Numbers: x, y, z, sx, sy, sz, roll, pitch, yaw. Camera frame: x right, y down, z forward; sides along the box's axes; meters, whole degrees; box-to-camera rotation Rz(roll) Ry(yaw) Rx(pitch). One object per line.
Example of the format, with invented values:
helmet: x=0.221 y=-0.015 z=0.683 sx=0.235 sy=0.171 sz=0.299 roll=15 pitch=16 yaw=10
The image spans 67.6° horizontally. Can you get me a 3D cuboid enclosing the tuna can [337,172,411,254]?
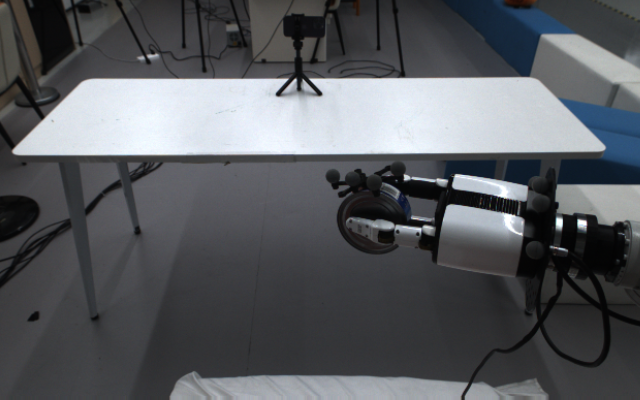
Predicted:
tuna can: x=0.068 y=0.020 z=0.585 sx=0.085 sy=0.085 sz=0.034 roll=13 pitch=29 yaw=15
